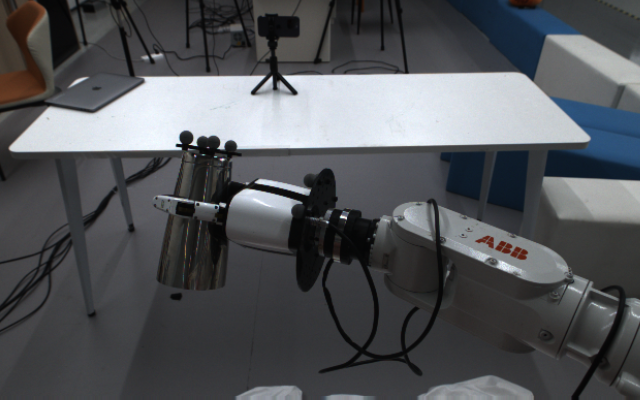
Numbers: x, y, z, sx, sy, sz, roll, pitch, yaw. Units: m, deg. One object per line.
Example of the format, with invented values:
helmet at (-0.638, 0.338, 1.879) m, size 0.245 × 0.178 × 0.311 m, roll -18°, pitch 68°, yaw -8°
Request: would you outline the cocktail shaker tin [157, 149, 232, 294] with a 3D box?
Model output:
cocktail shaker tin at (-0.161, 0.026, 0.649) m, size 0.093 × 0.170 × 0.093 m, roll 8°, pitch 3°, yaw 0°
